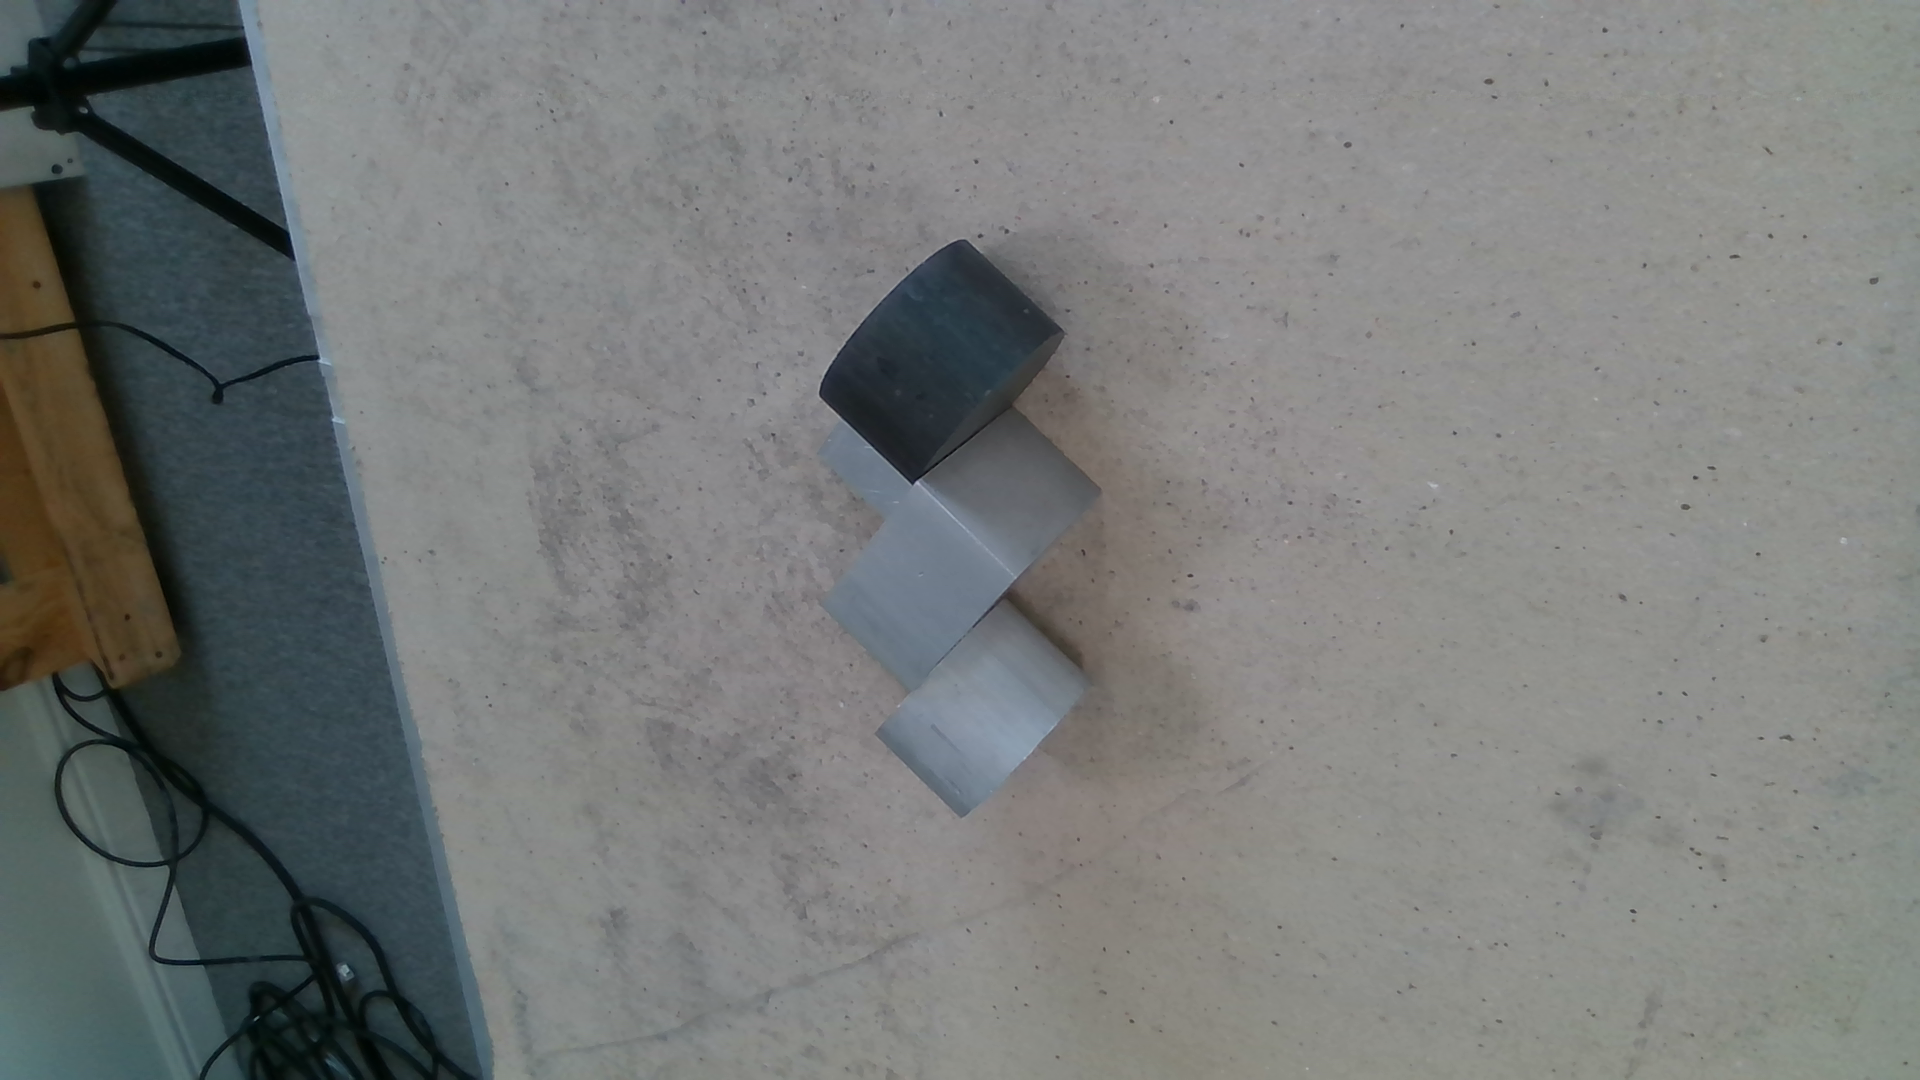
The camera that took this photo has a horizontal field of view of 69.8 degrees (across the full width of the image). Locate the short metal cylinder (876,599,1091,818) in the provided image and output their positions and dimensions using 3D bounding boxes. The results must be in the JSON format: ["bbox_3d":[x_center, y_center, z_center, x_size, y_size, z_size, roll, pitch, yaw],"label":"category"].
[{"bbox_3d":[0.010,0.070,0.578,0.050,0.080,0.080,44,129,4],"label":"short metal cylinder"}]

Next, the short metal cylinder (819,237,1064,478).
[{"bbox_3d":[-0.007,-0.065,0.514,0.050,0.080,0.080,44,129,4],"label":"short metal cylinder"}]

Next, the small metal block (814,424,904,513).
[{"bbox_3d":[-0.025,-0.041,0.574,0.050,0.025,0.050,44,129,4],"label":"small metal block"}]

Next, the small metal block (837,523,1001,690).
[{"bbox_3d":[-0.019,0.030,0.609,0.050,0.025,0.050,44,129,4],"label":"small metal block"}]

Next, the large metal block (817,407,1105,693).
[{"bbox_3d":[0.001,0.002,0.547,0.050,0.080,0.080,43,130,4],"label":"large metal block"}]
